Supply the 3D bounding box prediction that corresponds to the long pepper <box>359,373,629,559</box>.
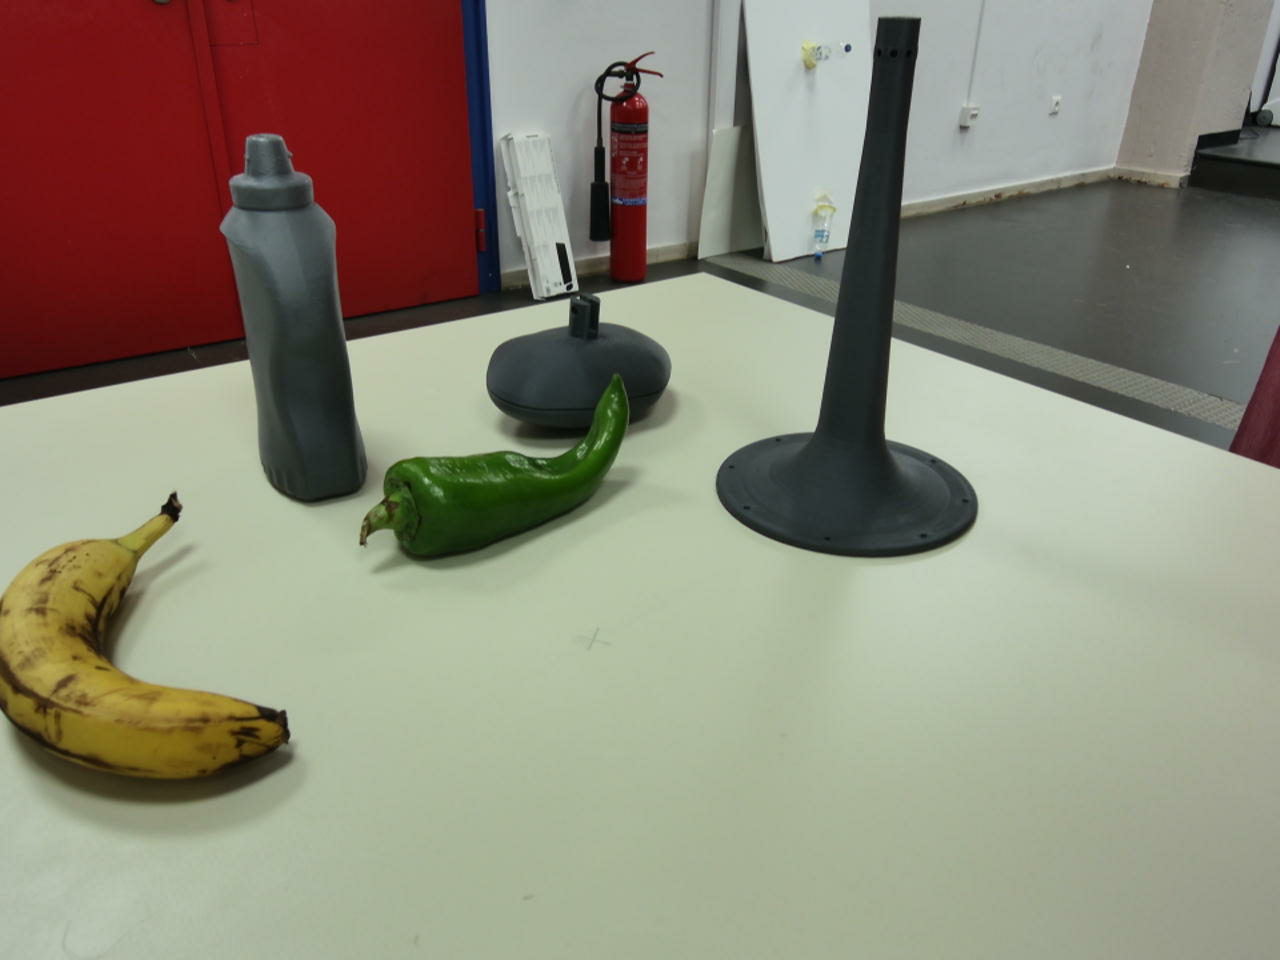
[{"bbox_3d":[-0.069,-0.006,0.530,0.175,0.065,0.058,-19,31,-35],"label":"long pepper"}]
